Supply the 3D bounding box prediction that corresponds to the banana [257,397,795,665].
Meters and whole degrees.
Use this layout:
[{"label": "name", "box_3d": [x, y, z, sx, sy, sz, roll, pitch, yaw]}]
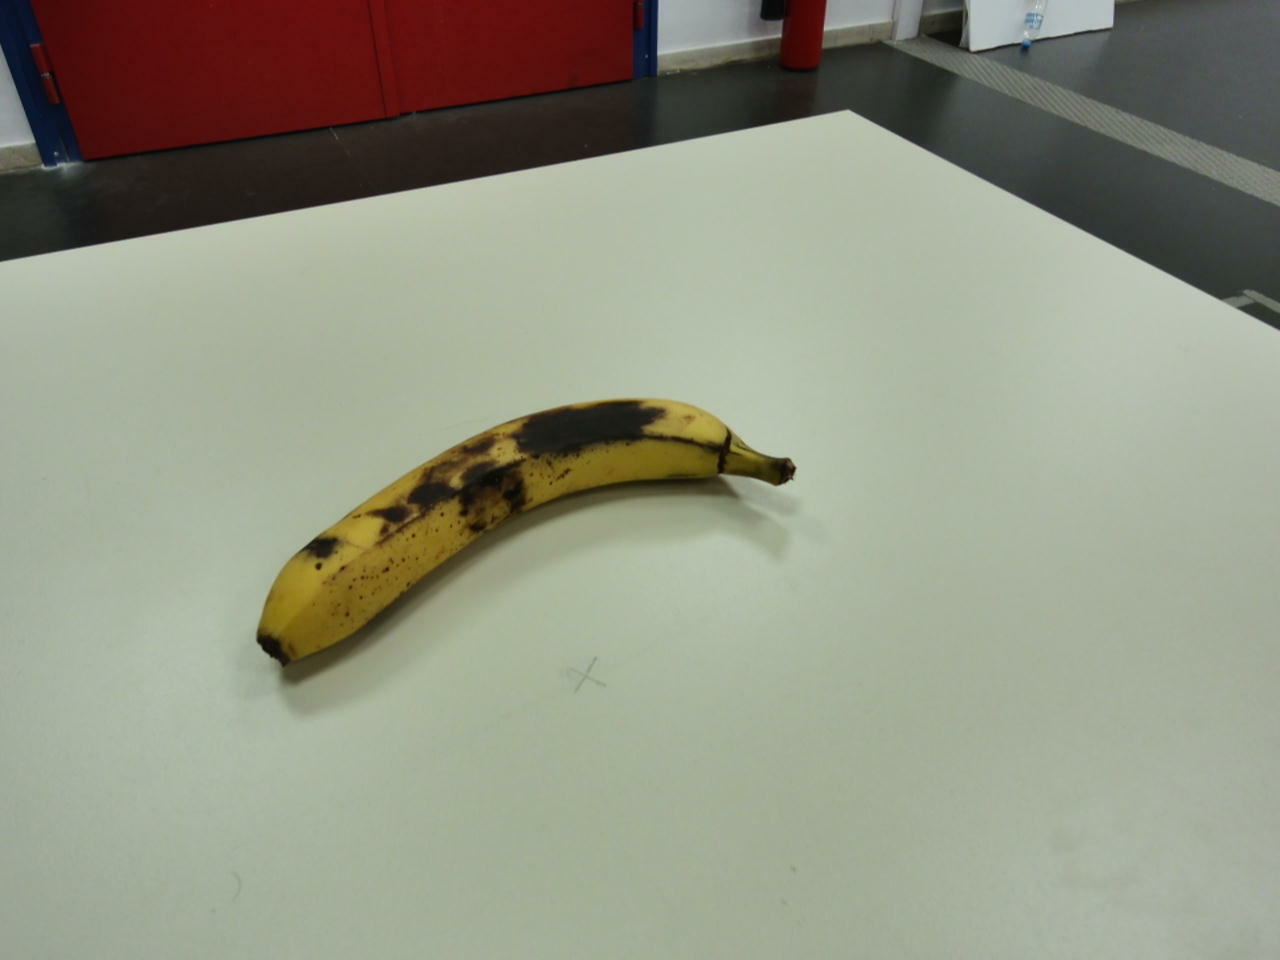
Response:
[{"label": "banana", "box_3d": [-0.049, 0.006, 0.410, 0.222, 0.037, 0.084, -17, 41, -22]}]
